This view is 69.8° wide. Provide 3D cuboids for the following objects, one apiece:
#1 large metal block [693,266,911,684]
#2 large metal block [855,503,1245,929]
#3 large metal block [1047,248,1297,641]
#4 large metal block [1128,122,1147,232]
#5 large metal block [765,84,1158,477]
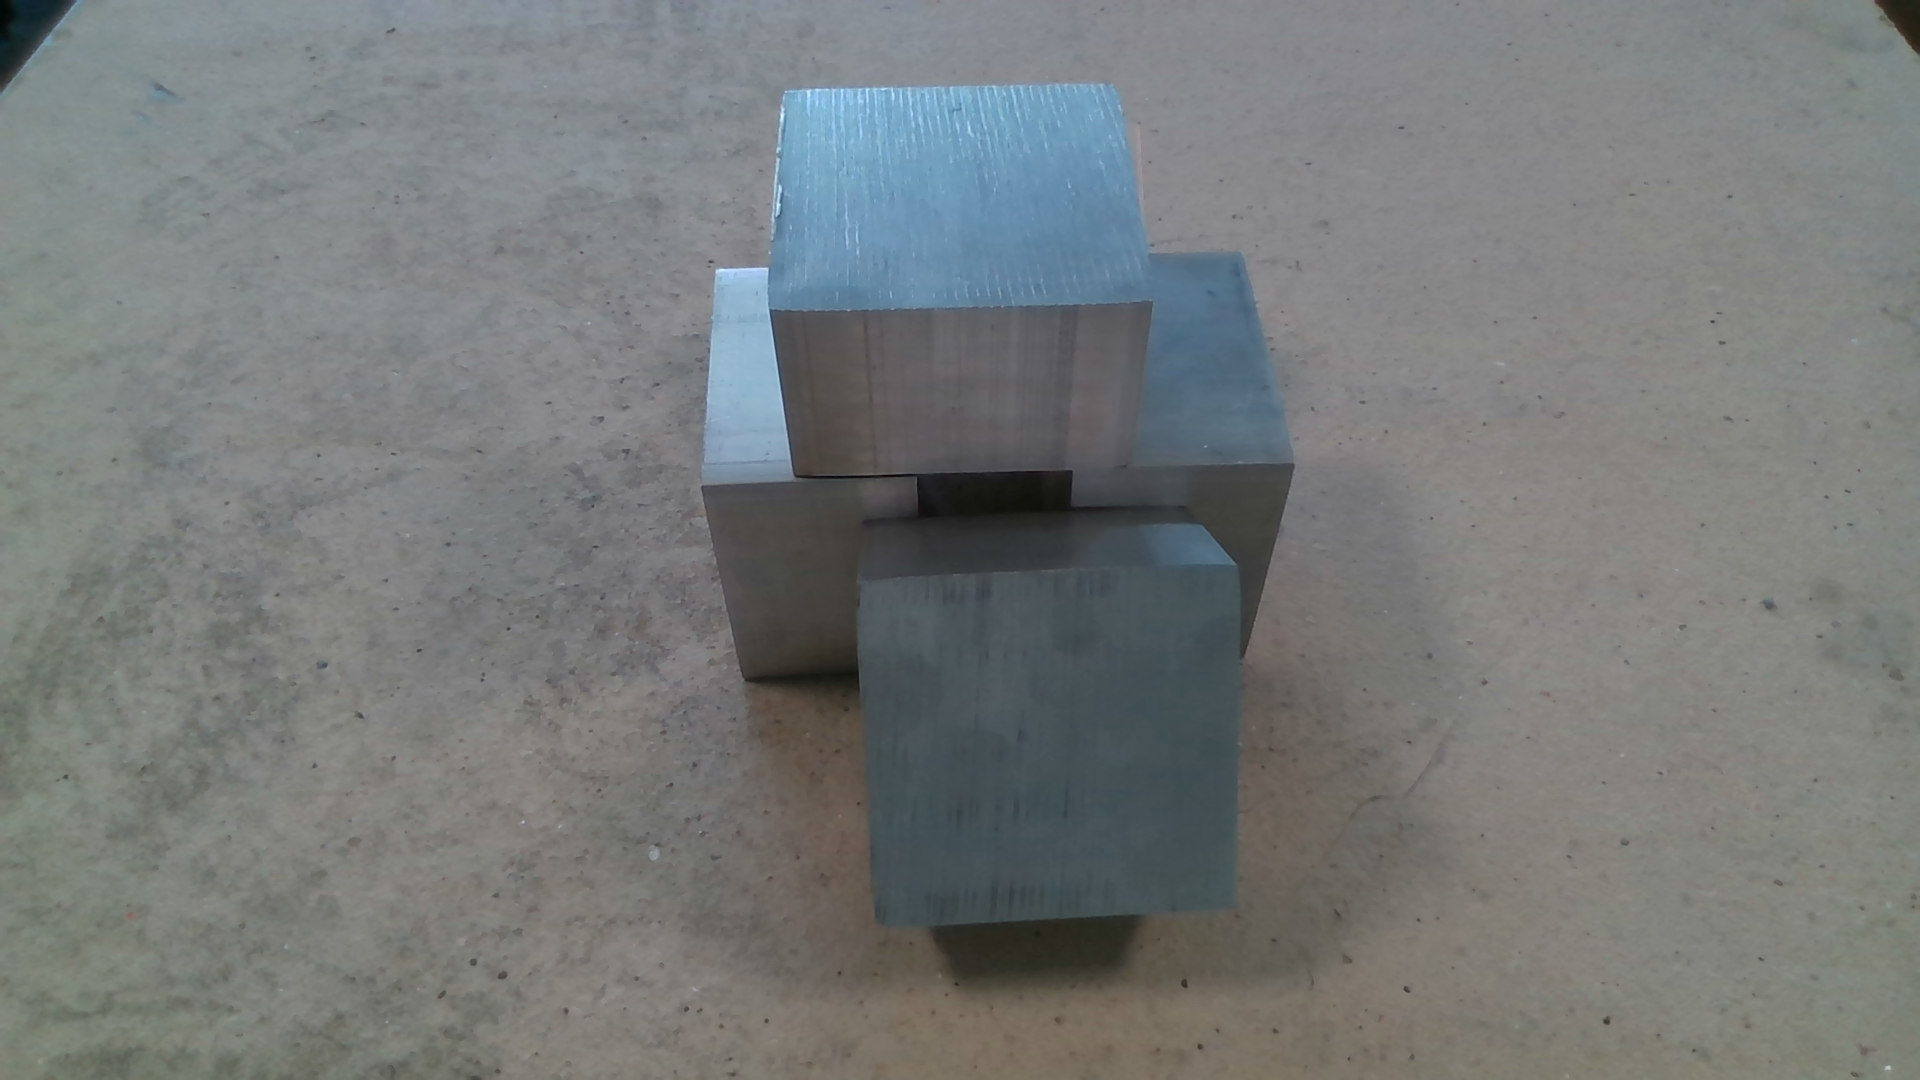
[{"bbox_3d":[-0.039,-0.018,0.375,0.050,0.080,0.080,-3,50,-2],"label":"large metal block"},{"bbox_3d":[0.019,0.038,0.316,0.080,0.080,0.050,-3,16,-2],"label":"large metal block"},{"bbox_3d":[0.052,-0.022,0.377,0.050,0.080,0.080,-2,51,-1],"label":"large metal block"},{"bbox_3d":[0.010,-0.090,0.425,0.080,0.080,0.050,-3,90,-3],"label":"large metal block"},{"bbox_3d":[-0.001,-0.062,0.325,0.080,0.050,0.080,-2,50,-1],"label":"large metal block"}]
